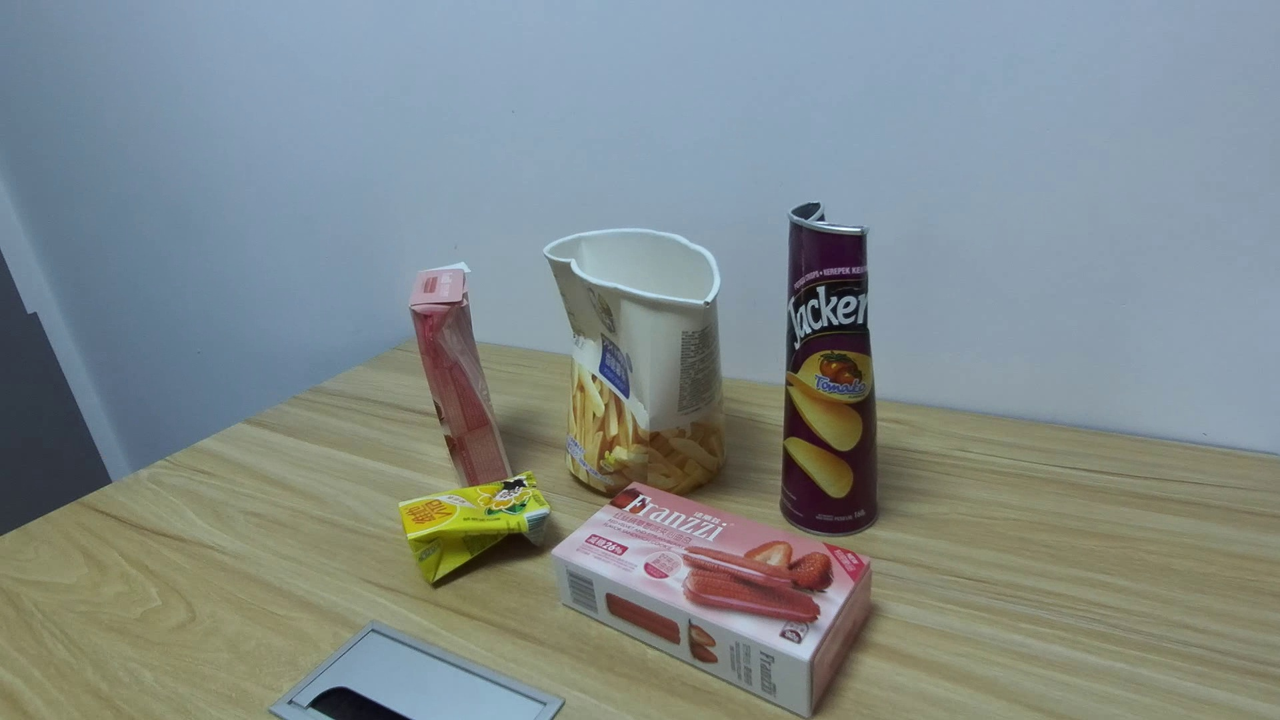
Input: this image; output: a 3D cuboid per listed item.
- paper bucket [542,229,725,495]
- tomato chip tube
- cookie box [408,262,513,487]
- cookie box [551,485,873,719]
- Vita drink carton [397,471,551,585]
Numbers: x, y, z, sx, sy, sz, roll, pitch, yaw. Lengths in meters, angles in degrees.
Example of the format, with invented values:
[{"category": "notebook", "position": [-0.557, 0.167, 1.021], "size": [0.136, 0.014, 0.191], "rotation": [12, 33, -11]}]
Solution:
[{"category": "paper bucket", "position": [-0.001, 0.000, 0.611], "size": [0.217, 0.199, 0.148], "rotation": [10, 28, 34]}, {"category": "tomato chip tube", "position": [0.140, 0.010, 0.515], "size": [0.076, 0.235, 0.078], "rotation": [13, 29, 37]}, {"category": "cookie box", "position": [-0.158, 0.019, 0.629], "size": [0.055, 0.184, 0.118], "rotation": [-11, 24, -13]}, {"category": "cookie box", "position": [0.043, 0.145, 0.460], "size": [0.183, 0.048, 0.096], "rotation": [12, 28, 34]}, {"category": "Vita drink carton", "position": [-0.125, 0.127, 0.550], "size": [0.108, 0.042, 0.086], "rotation": [-11, 17, -22]}]
